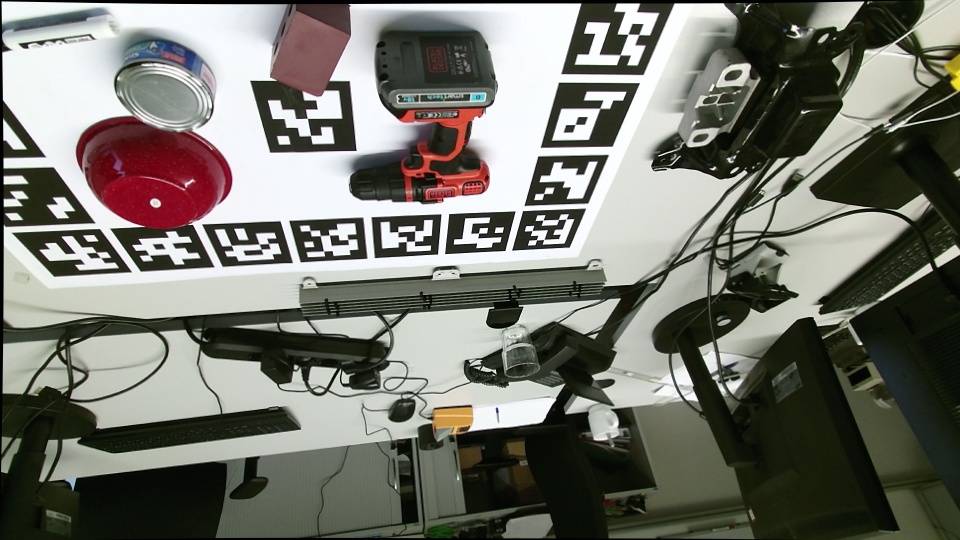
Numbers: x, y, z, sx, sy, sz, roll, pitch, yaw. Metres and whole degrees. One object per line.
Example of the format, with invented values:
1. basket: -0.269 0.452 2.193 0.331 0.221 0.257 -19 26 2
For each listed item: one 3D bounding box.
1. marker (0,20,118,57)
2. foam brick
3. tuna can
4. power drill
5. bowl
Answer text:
1. marker: -0.392 -0.206 0.481 0.121 0.019 0.020 -9 144 -2
2. foam brick: -0.163 -0.220 0.510 0.051 0.052 0.078 13 138 -29
3. tuna can: -0.312 -0.176 0.535 0.086 0.033 0.086 -6 145 -4
4. power drill: -0.061 -0.159 0.619 0.185 0.057 0.187 -2 147 -7
5. bowl: -0.375 -0.098 0.631 0.162 0.055 0.162 -10 153 -5
